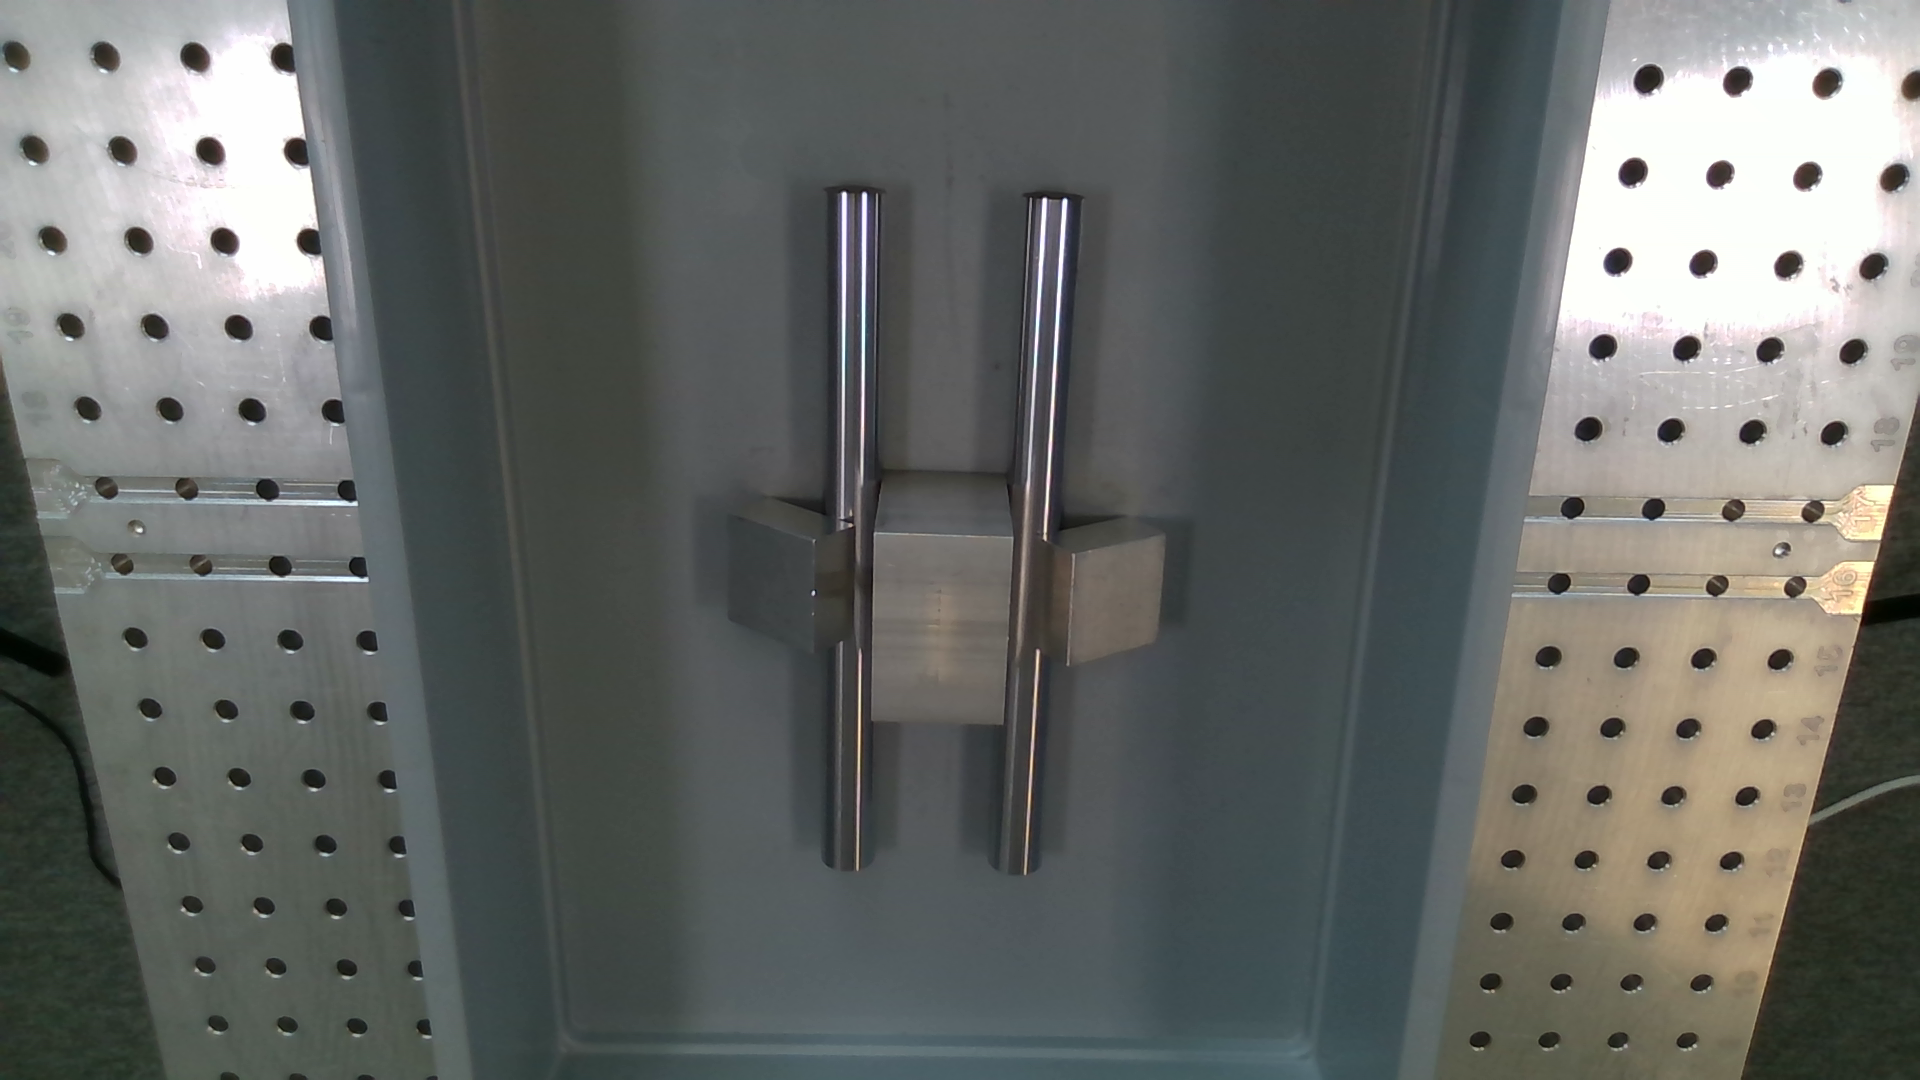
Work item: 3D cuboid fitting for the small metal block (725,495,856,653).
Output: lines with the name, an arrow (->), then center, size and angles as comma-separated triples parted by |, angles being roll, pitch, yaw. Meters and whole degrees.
small metal block -> -0.071, 0.013, 0.576 | 0.050, 0.025, 0.050 | 17, 115, 34

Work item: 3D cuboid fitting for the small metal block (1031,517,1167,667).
small metal block -> 0.058, 0.020, 0.579 | 0.050, 0.025, 0.050 | -13, 115, -32

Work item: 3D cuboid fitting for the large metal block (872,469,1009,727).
large metal block -> -0.008, 0.021, 0.561 | 0.050, 0.080, 0.080 | 2, 110, -1

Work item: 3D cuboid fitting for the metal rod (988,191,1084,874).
metal rod -> 0.030, 0.007, 0.586 | 0.025, 0.025, 0.301 | 2, 110, -1

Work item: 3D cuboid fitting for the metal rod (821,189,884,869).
metal rod -> -0.047, 0.005, 0.586 | 0.025, 0.025, 0.301 | 2, 110, -1
